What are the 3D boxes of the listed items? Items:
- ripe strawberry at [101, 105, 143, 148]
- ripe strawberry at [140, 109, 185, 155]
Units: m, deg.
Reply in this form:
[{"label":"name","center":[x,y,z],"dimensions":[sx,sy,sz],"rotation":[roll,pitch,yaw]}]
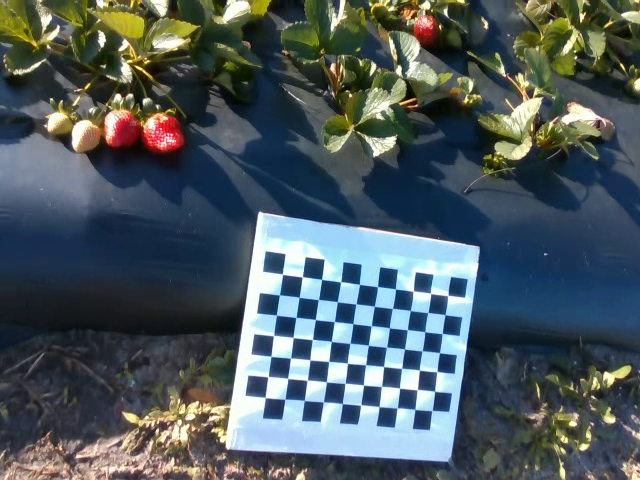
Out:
[{"label":"ripe strawberry","center":[-0.227,-0.124,0.829],"dimensions":[0.050,0.061,0.043],"rotation":[34,-52,-18]},{"label":"ripe strawberry","center":[-0.175,-0.119,0.841],"dimensions":[0.067,0.056,0.052],"rotation":[37,-14,39]}]
